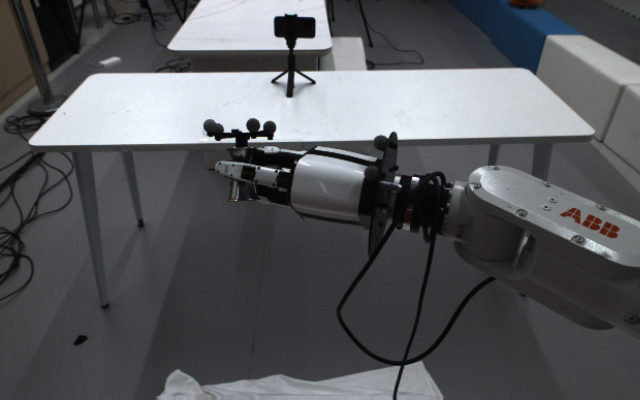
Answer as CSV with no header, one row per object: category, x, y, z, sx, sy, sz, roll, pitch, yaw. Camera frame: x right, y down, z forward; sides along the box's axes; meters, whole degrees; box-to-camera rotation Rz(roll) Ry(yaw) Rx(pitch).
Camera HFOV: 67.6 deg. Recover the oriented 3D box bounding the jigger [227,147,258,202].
jigger,-0.103,-0.034,0.628,0.043,0.071,0.043,-2,3,0
